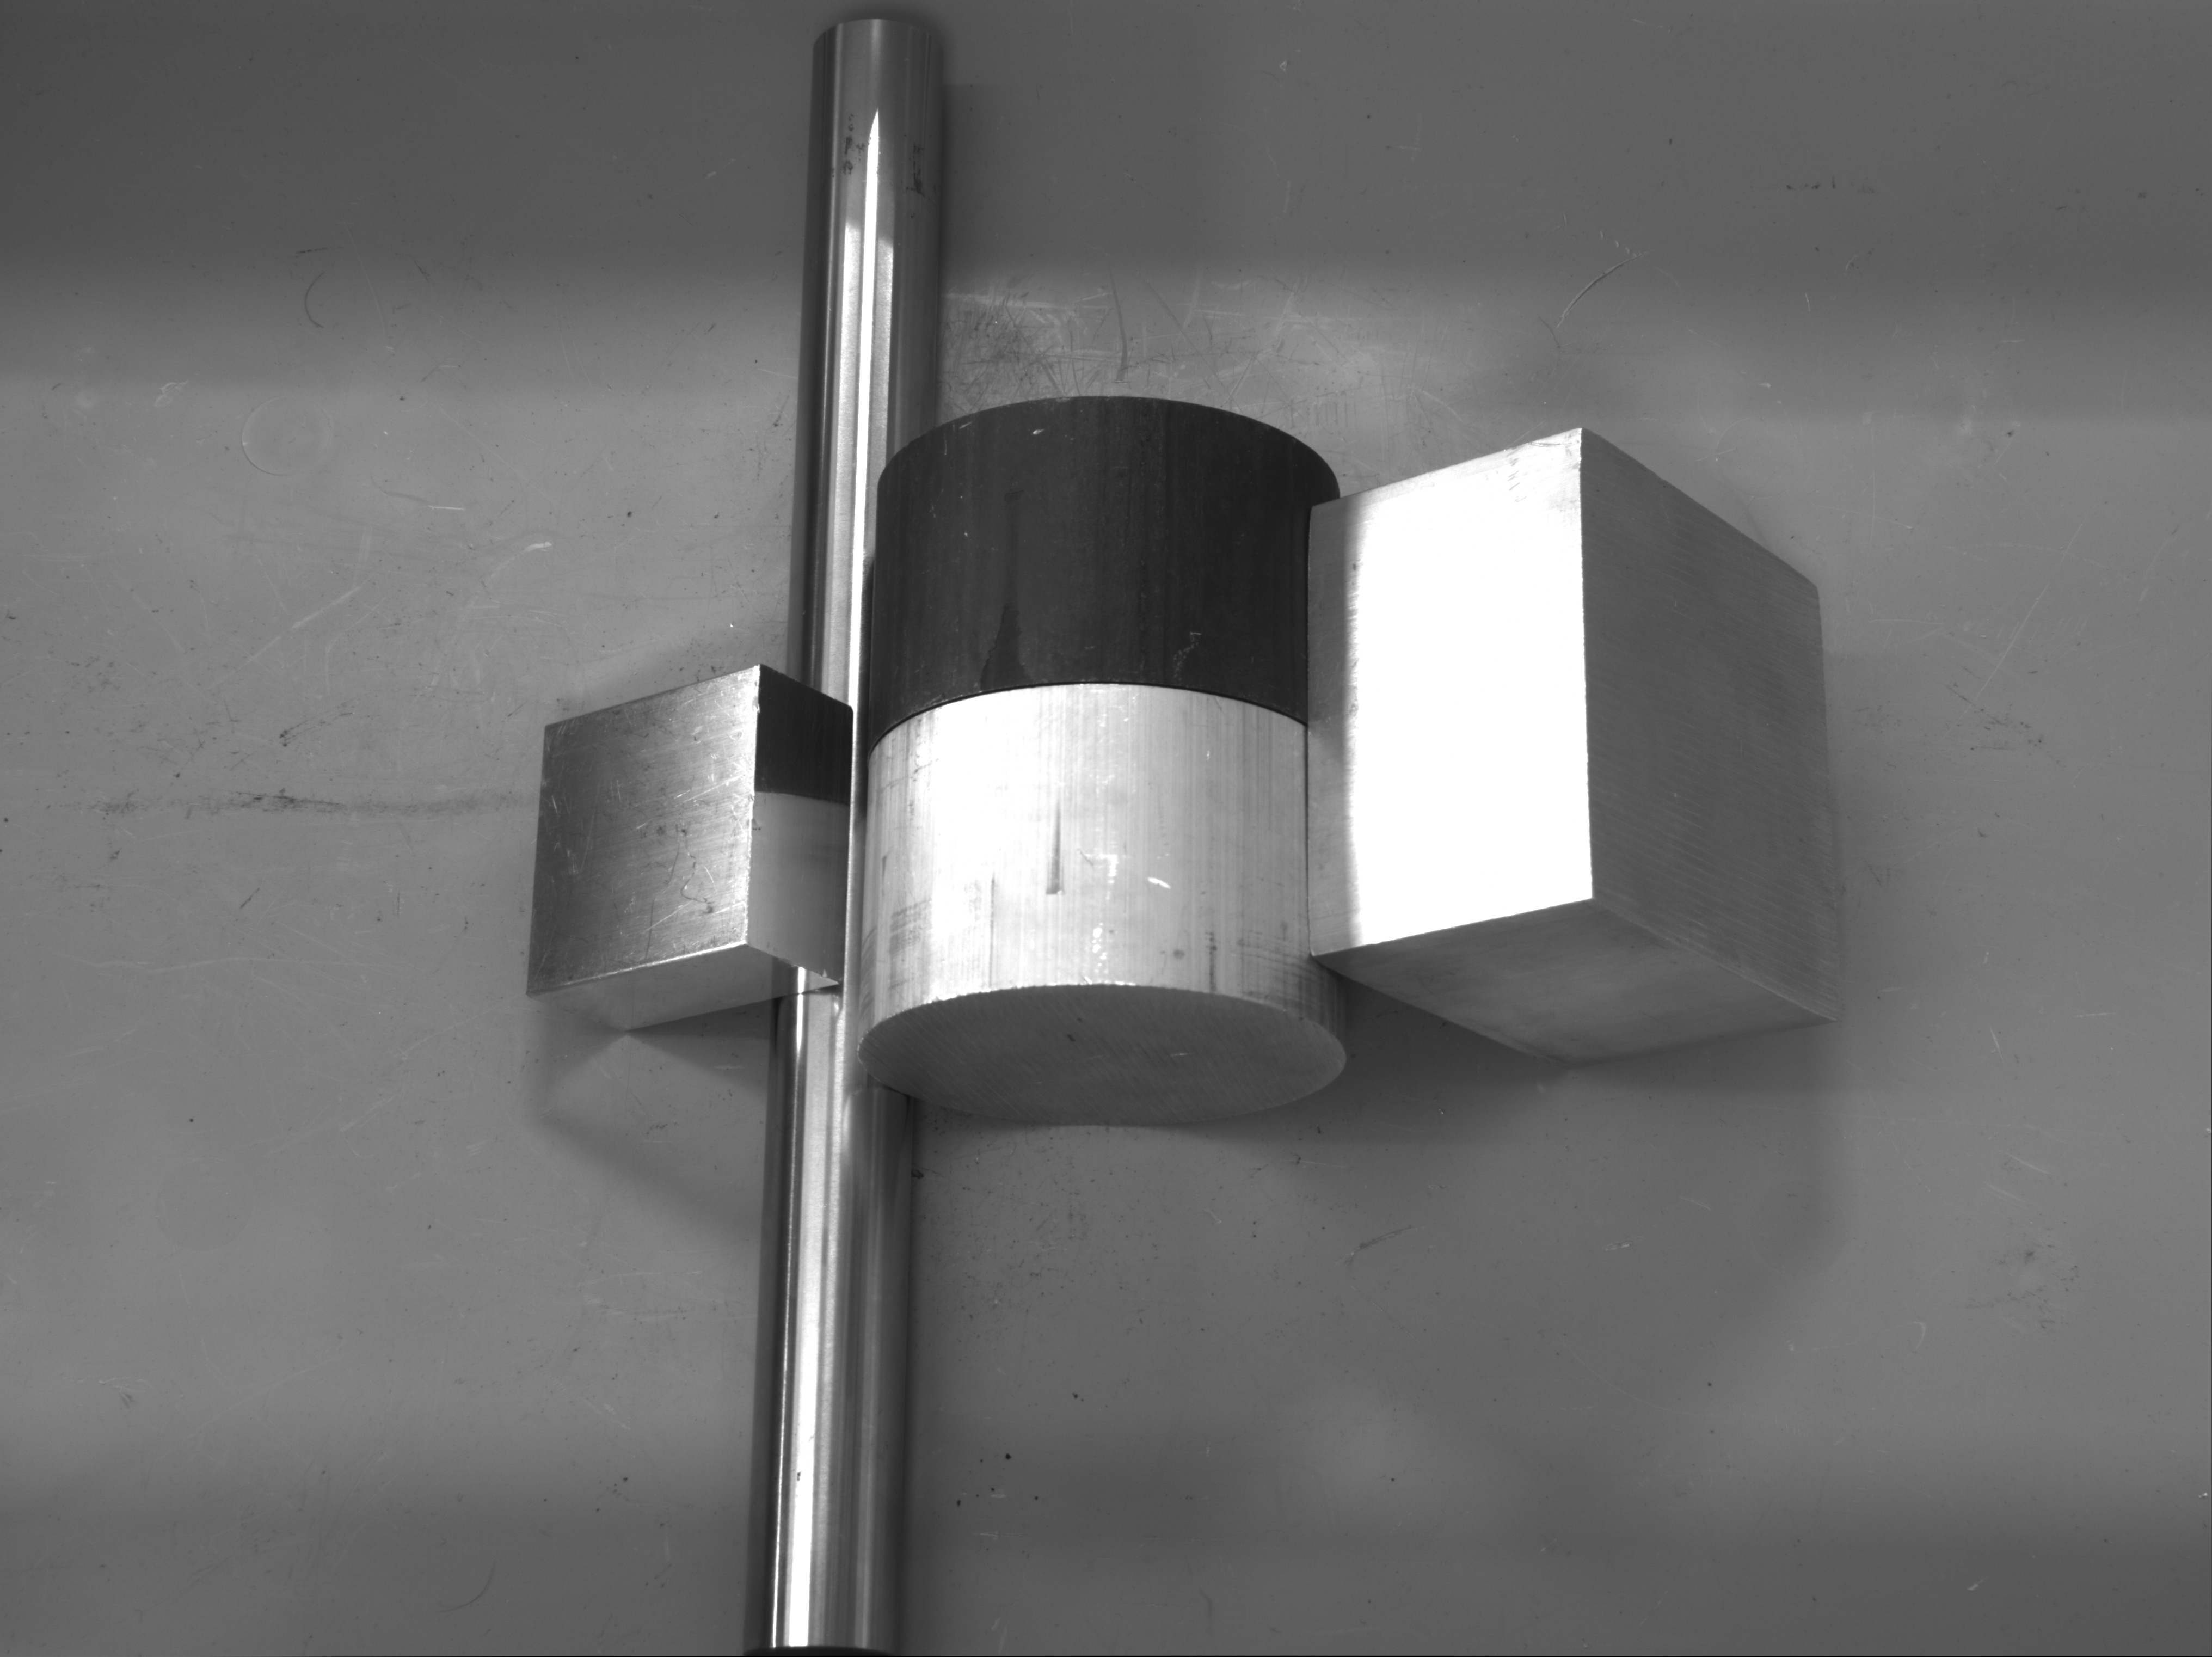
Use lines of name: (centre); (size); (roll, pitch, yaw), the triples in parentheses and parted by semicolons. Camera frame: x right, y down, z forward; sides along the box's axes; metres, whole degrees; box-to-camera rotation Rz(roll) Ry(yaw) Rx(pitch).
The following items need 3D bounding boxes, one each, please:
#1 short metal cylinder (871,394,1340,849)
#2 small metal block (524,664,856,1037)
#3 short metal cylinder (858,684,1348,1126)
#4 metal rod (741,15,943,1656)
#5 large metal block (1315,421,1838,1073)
short metal cylinder: (0.000, -0.033, 0.627); (0.080, 0.080, 0.050); (1, 70, 0)
small metal block: (-0.071, 0.004, 0.630); (0.050, 0.025, 0.050); (-14, 65, 33)
short metal cylinder: (0.000, 0.014, 0.609); (0.080, 0.080, 0.050); (1, 70, 0)
metal rod: (-0.045, -0.007, 0.646); (0.025, 0.025, 0.300); (1, 70, 0)
large metal block: (0.078, -0.011, 0.611); (0.050, 0.080, 0.080); (-14, 65, 36)
